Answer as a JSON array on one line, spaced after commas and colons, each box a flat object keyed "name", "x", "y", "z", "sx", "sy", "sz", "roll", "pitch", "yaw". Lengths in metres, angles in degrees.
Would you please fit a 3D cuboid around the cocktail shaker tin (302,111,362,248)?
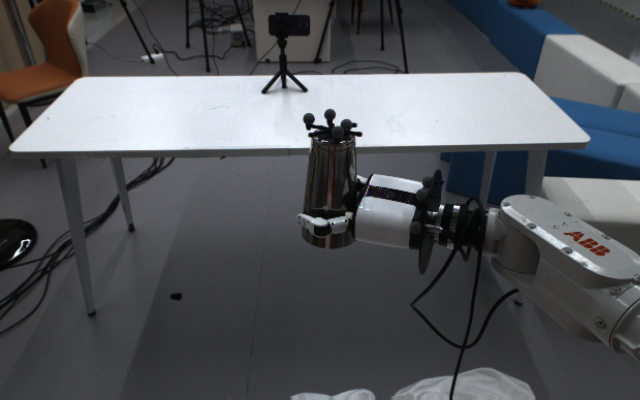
[{"name": "cocktail shaker tin", "x": 0.018, "y": -0.021, "z": 0.752, "sx": 0.093, "sy": 0.170, "sz": 0.093, "roll": 1, "pitch": 28, "yaw": -1}]
